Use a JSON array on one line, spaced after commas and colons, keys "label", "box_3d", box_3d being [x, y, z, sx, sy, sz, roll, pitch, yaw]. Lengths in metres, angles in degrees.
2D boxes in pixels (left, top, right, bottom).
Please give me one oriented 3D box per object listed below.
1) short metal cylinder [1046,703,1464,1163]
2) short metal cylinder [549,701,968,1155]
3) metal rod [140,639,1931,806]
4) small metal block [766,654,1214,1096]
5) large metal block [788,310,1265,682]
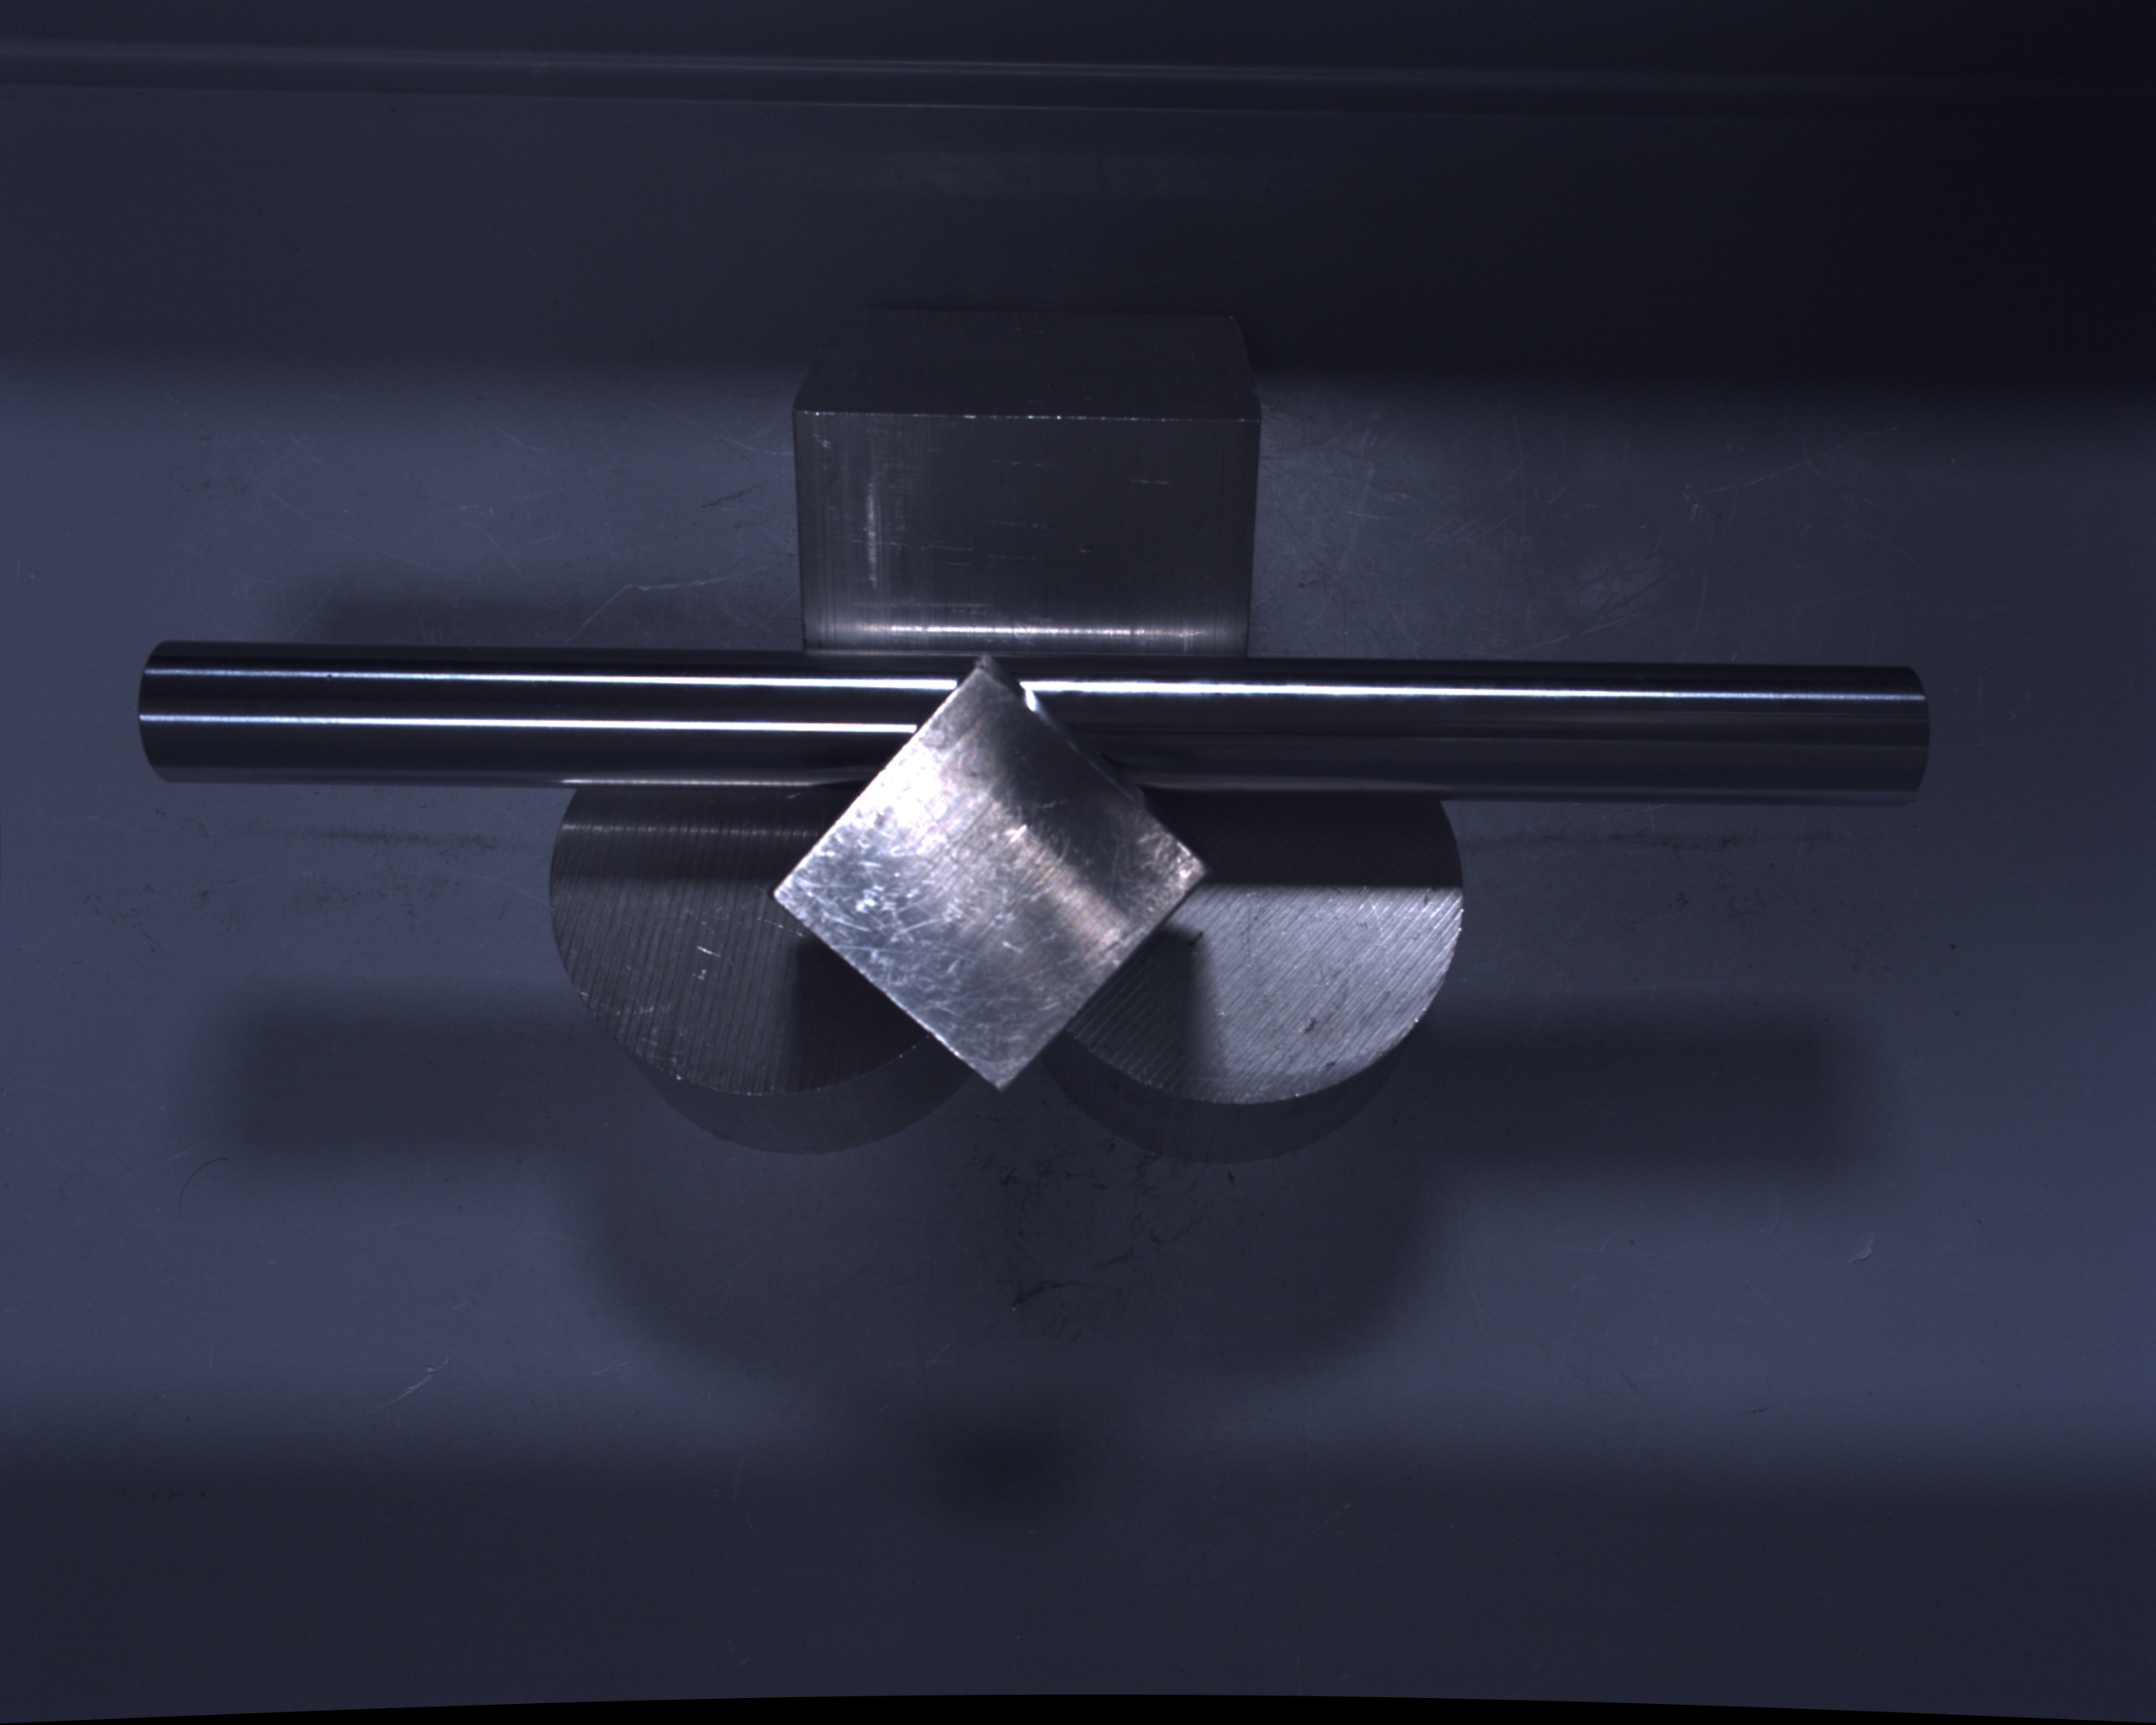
[{"label": "short metal cylinder", "box_3d": [0.028, 0.012, 0.391, 0.081, 0.050, 0.080, 0, 70, 0]}, {"label": "short metal cylinder", "box_3d": [-0.053, 0.010, 0.391, 0.081, 0.050, 0.080, 0, 70, 0]}, {"label": "metal rod", "box_3d": [-0.007, -0.024, 0.364, 0.302, 0.025, 0.025, 1, 70, 0]}, {"label": "small metal block", "box_3d": [-0.014, 0.001, 0.343, 0.050, 0.025, 0.050, 41, 96, -6]}, {"label": "large metal block", "box_3d": [-0.009, -0.071, 0.399, 0.081, 0.050, 0.080, 1, 27, 0]}]
